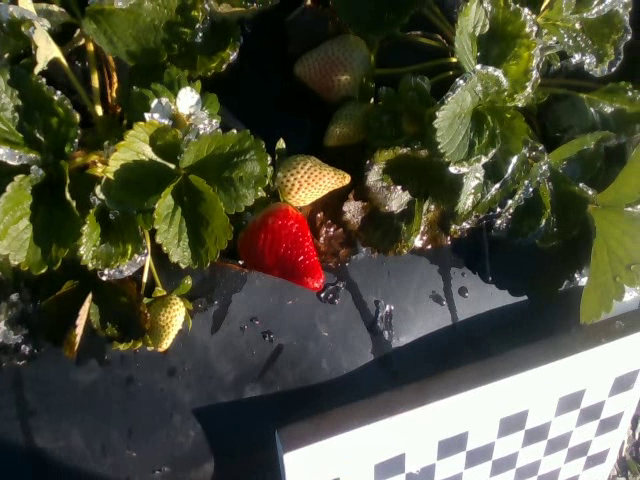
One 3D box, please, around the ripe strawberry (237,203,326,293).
[{"bbox_3d":[-0.015,0.007,0.300,0.053,0.040,0.042,47,6,23],"label":"ripe strawberry"}]
